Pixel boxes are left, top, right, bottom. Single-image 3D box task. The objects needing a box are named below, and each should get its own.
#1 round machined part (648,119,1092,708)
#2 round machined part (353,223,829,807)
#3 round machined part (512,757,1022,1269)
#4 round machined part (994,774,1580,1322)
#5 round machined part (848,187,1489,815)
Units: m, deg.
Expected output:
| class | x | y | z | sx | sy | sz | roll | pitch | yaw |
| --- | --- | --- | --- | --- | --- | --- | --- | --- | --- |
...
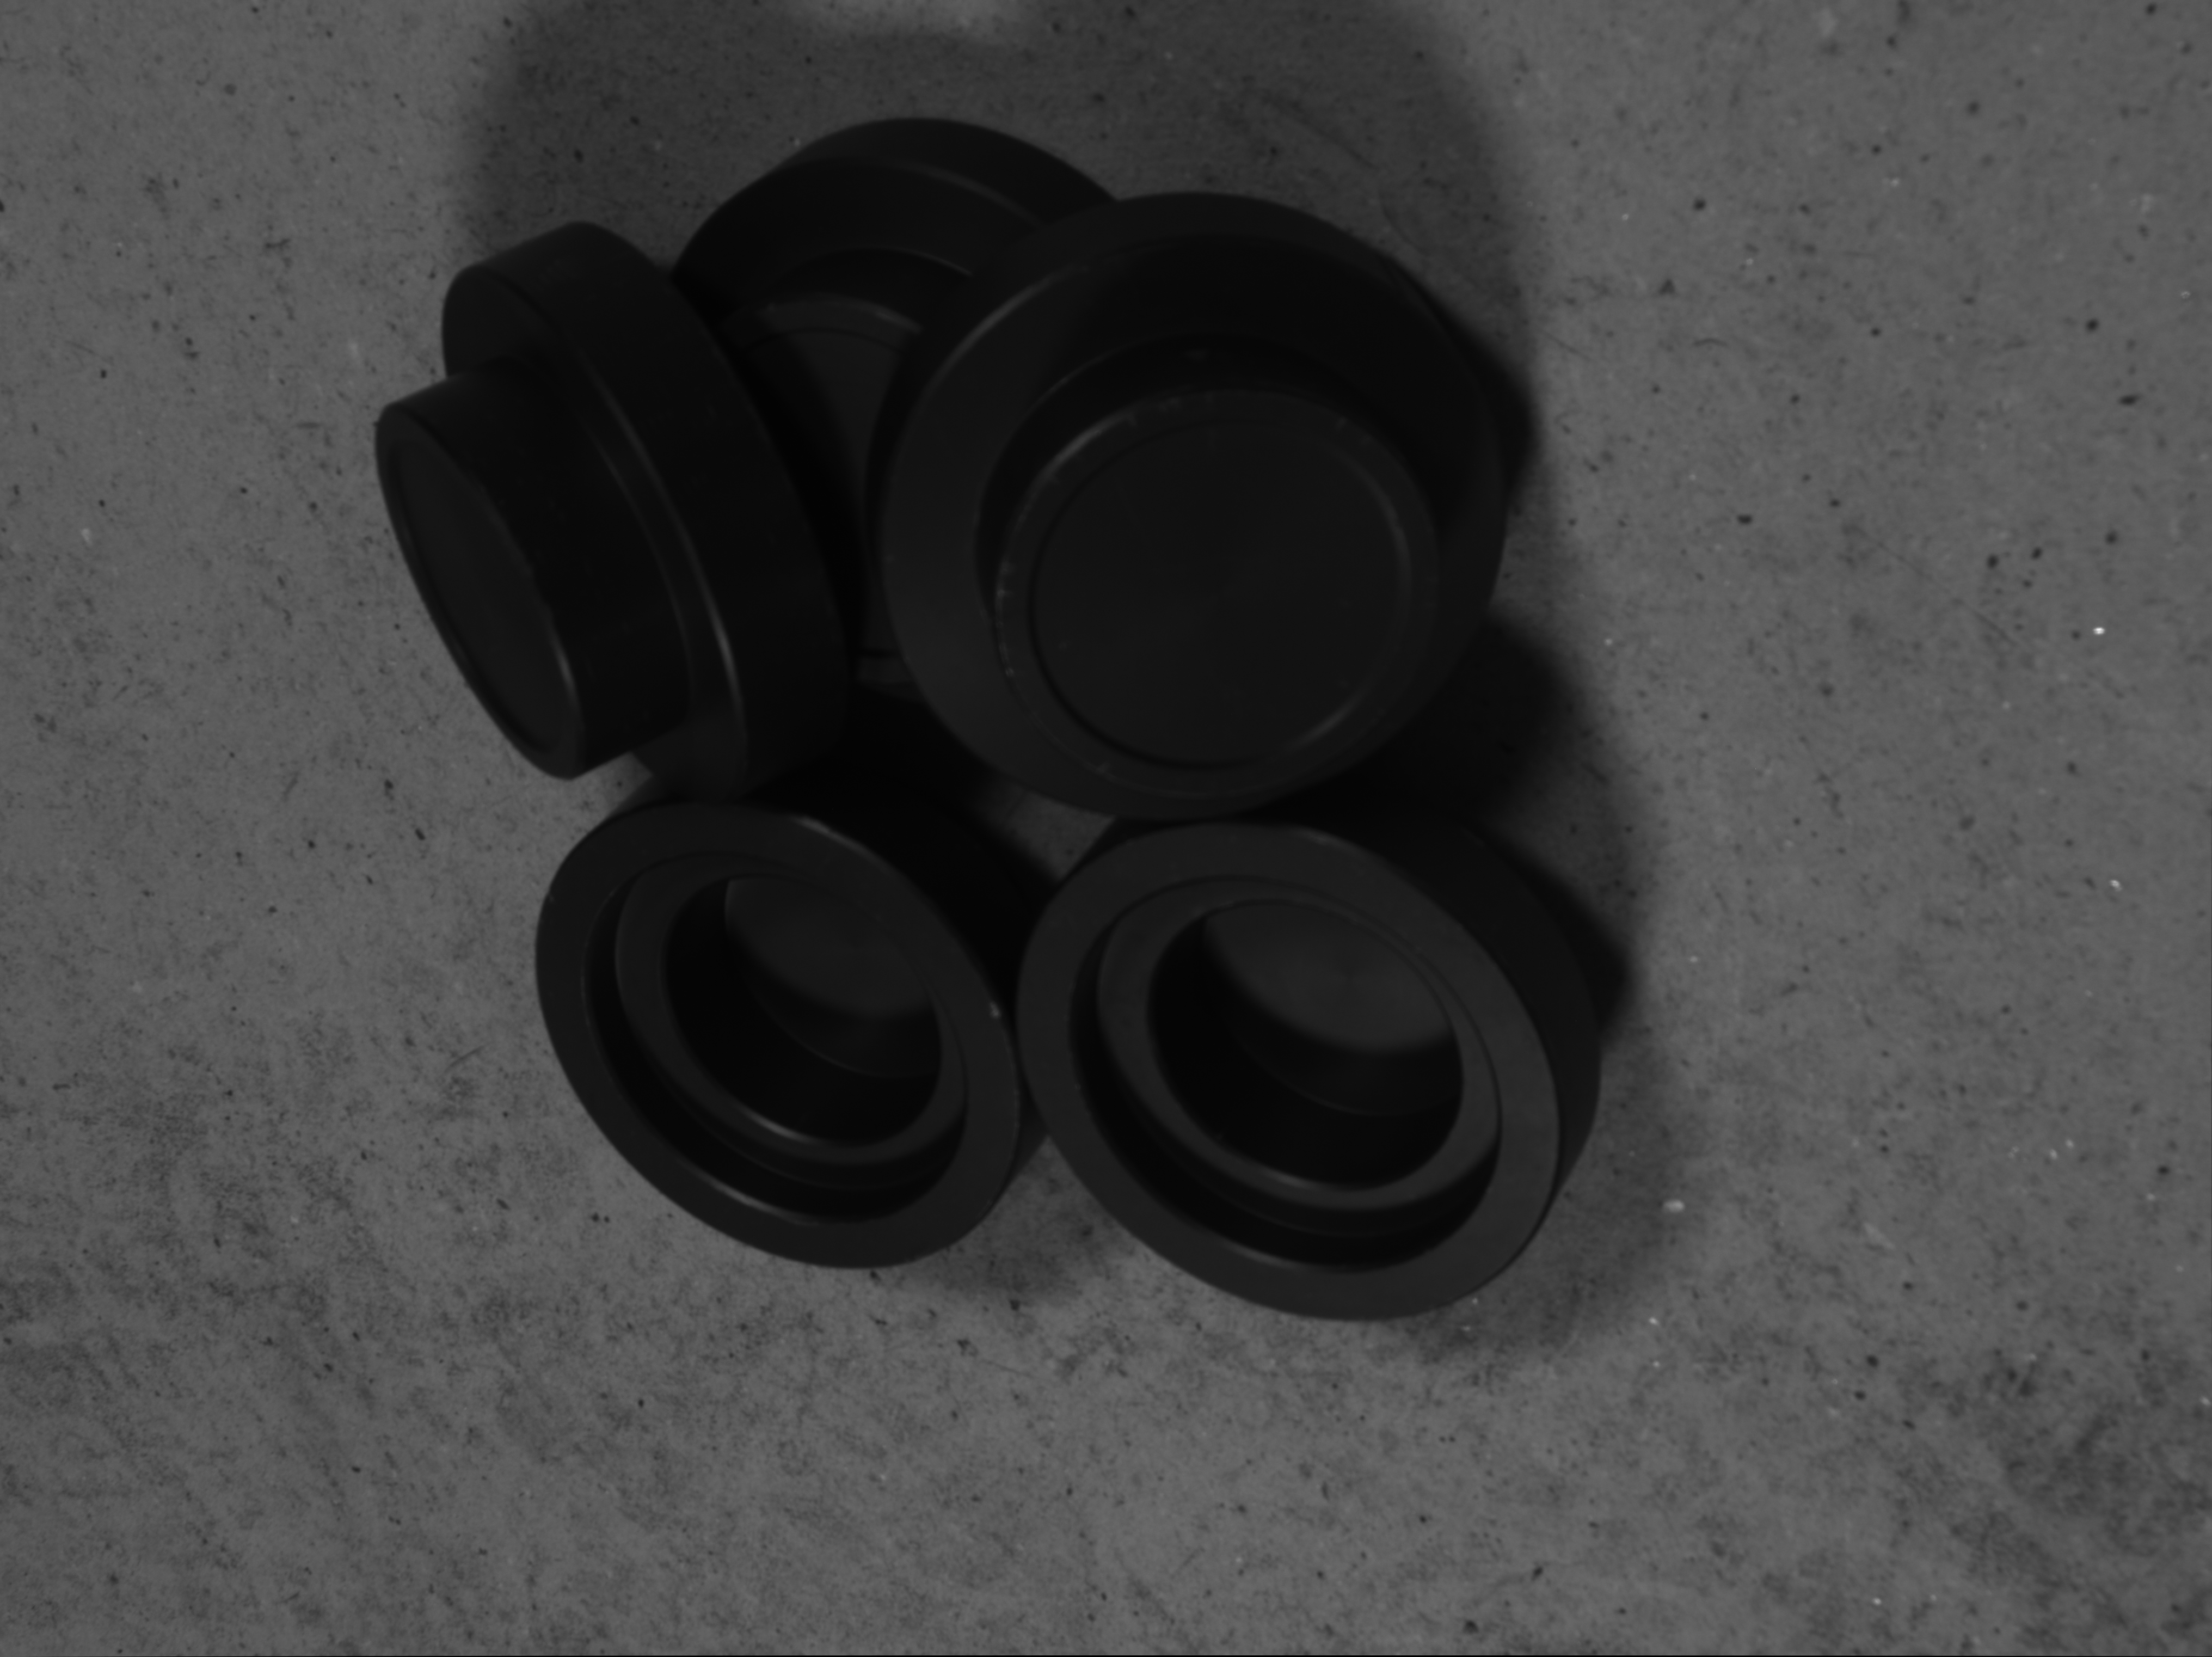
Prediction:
| class | x | y | z | sx | sy | sz | roll | pitch | yaw |
| --- | --- | --- | --- | --- | --- | --- | --- | --- | --- |
| round machined part | -0.036 | -0.063 | 0.600 | 0.098 | 0.042 | 0.098 | 12 | 123 | 20 |
| round machined part | -0.090 | -0.047 | 0.607 | 0.098 | 0.042 | 0.098 | 46 | 153 | 32 |
| round machined part | -0.055 | 0.028 | 0.665 | 0.098 | 0.042 | 0.098 | 12 | 123 | 20 |
| round machined part | 0.034 | 0.032 | 0.623 | 0.098 | 0.042 | 0.098 | 12 | 123 | 20 |
| round machined part | 0.011 | -0.045 | 0.561 | 0.098 | 0.042 | 0.098 | -4 | 119 | -7 |
